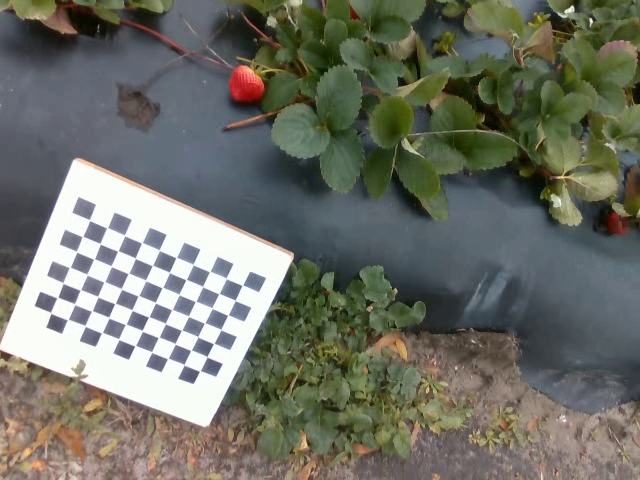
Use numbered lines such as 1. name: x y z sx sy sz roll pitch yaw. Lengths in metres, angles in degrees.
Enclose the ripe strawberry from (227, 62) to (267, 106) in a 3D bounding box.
1. ripe strawberry: -0.121 -0.246 0.876 0.061 0.065 0.050 35 5 -15
